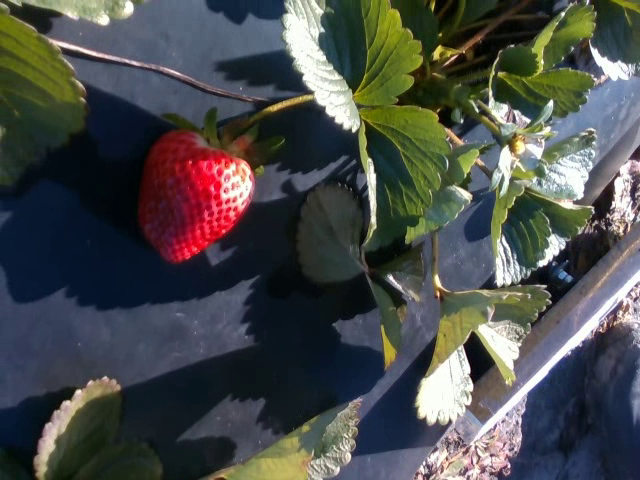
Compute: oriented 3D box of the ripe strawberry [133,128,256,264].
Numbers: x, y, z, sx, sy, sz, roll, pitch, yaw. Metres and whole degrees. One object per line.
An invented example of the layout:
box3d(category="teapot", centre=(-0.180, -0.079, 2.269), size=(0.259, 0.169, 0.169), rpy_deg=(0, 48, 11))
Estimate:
box3d(category="ripe strawberry", centre=(-0.044, -0.016, 0.219), size=(0.044, 0.056, 0.042), rpy_deg=(23, -8, 16))
